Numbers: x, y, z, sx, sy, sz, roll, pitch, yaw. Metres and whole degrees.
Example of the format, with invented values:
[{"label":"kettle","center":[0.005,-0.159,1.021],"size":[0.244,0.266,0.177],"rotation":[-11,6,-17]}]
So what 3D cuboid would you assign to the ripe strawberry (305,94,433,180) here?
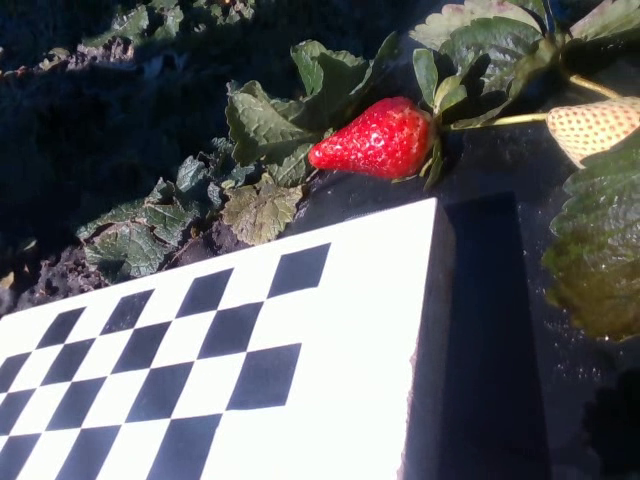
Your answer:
[{"label":"ripe strawberry","center":[0.023,-0.045,0.288],"size":[0.068,0.040,0.048],"rotation":[-20,33,12]}]
